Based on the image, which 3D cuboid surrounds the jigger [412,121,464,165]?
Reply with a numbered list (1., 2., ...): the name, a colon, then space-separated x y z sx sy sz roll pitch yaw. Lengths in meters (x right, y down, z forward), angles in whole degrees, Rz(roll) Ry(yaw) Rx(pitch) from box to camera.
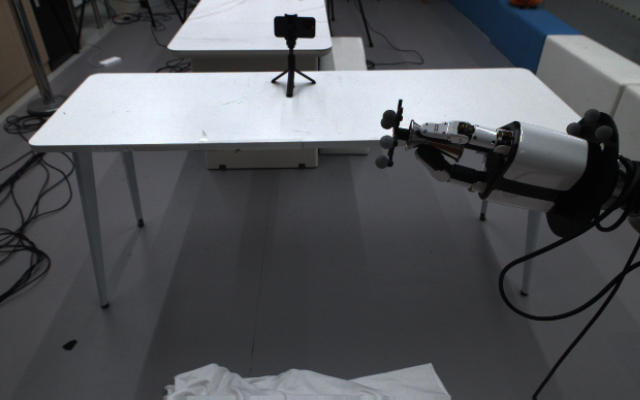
1. jigger: 0.152 -0.081 0.615 0.071 0.043 0.043 11 35 3
